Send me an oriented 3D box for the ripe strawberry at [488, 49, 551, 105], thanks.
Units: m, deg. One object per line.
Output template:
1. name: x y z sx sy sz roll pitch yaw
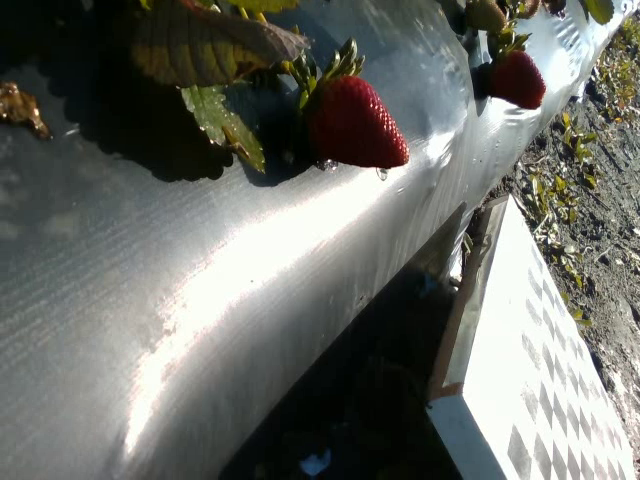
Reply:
1. ripe strawberry: 0.155 -0.123 0.470 0.042 0.059 0.042 -34 -15 22

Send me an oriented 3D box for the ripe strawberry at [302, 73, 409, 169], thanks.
1. ripe strawberry: 0.018 -0.048 0.255 0.055 0.042 0.045 37 23 9
